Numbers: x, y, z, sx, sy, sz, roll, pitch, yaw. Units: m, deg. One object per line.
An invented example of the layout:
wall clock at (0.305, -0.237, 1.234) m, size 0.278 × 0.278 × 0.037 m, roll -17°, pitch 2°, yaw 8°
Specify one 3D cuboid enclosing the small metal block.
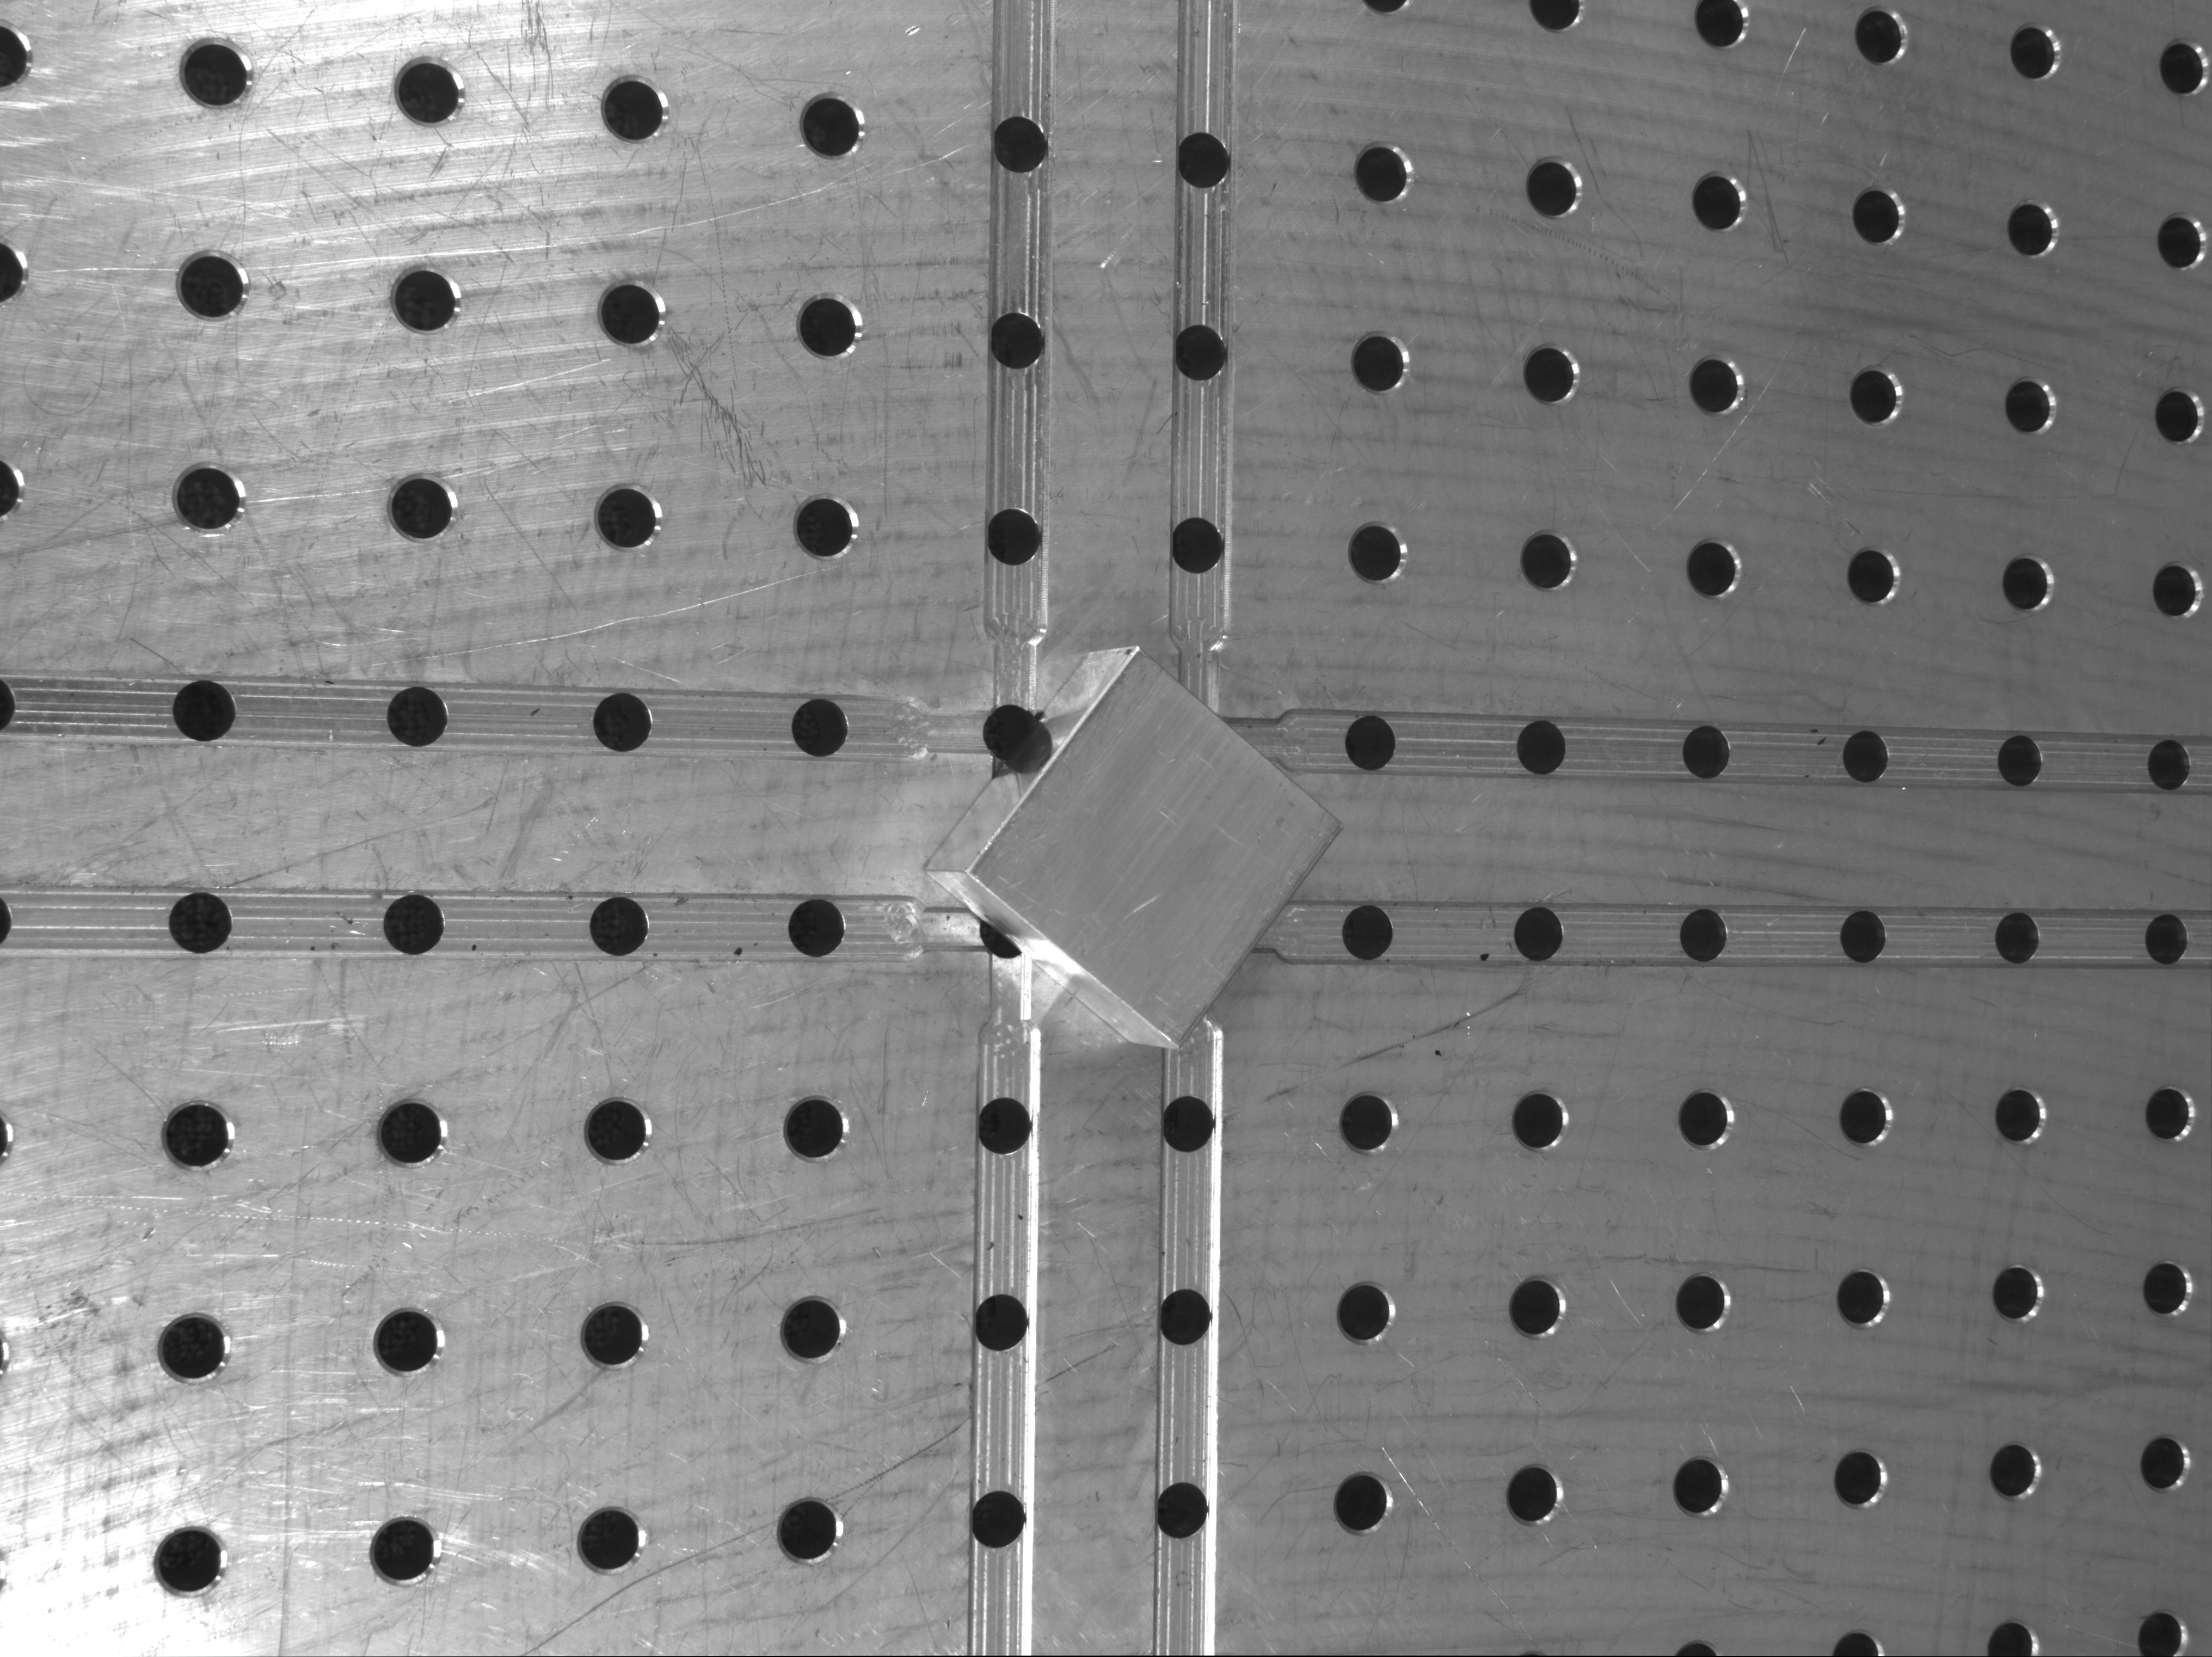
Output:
small metal block at (0.004, 0.004, 0.648) m, size 0.050 × 0.025 × 0.050 m, roll 40°, pitch 77°, yaw -16°
